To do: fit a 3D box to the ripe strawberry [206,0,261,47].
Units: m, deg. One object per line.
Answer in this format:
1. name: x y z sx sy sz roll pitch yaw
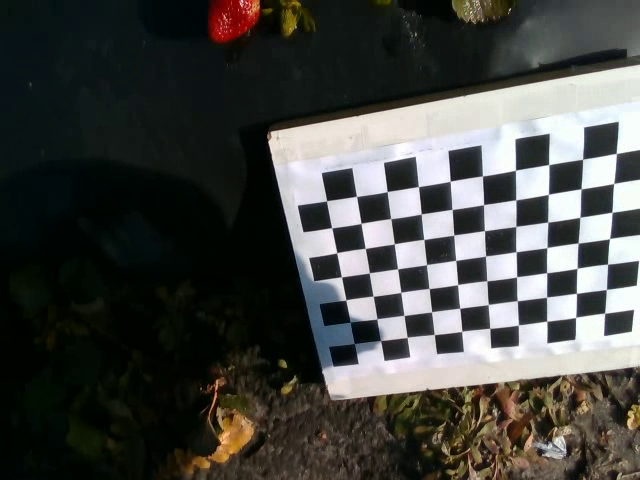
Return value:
1. ripe strawberry: -0.068 -0.167 0.386 0.043 0.053 0.038 33 -18 -13
